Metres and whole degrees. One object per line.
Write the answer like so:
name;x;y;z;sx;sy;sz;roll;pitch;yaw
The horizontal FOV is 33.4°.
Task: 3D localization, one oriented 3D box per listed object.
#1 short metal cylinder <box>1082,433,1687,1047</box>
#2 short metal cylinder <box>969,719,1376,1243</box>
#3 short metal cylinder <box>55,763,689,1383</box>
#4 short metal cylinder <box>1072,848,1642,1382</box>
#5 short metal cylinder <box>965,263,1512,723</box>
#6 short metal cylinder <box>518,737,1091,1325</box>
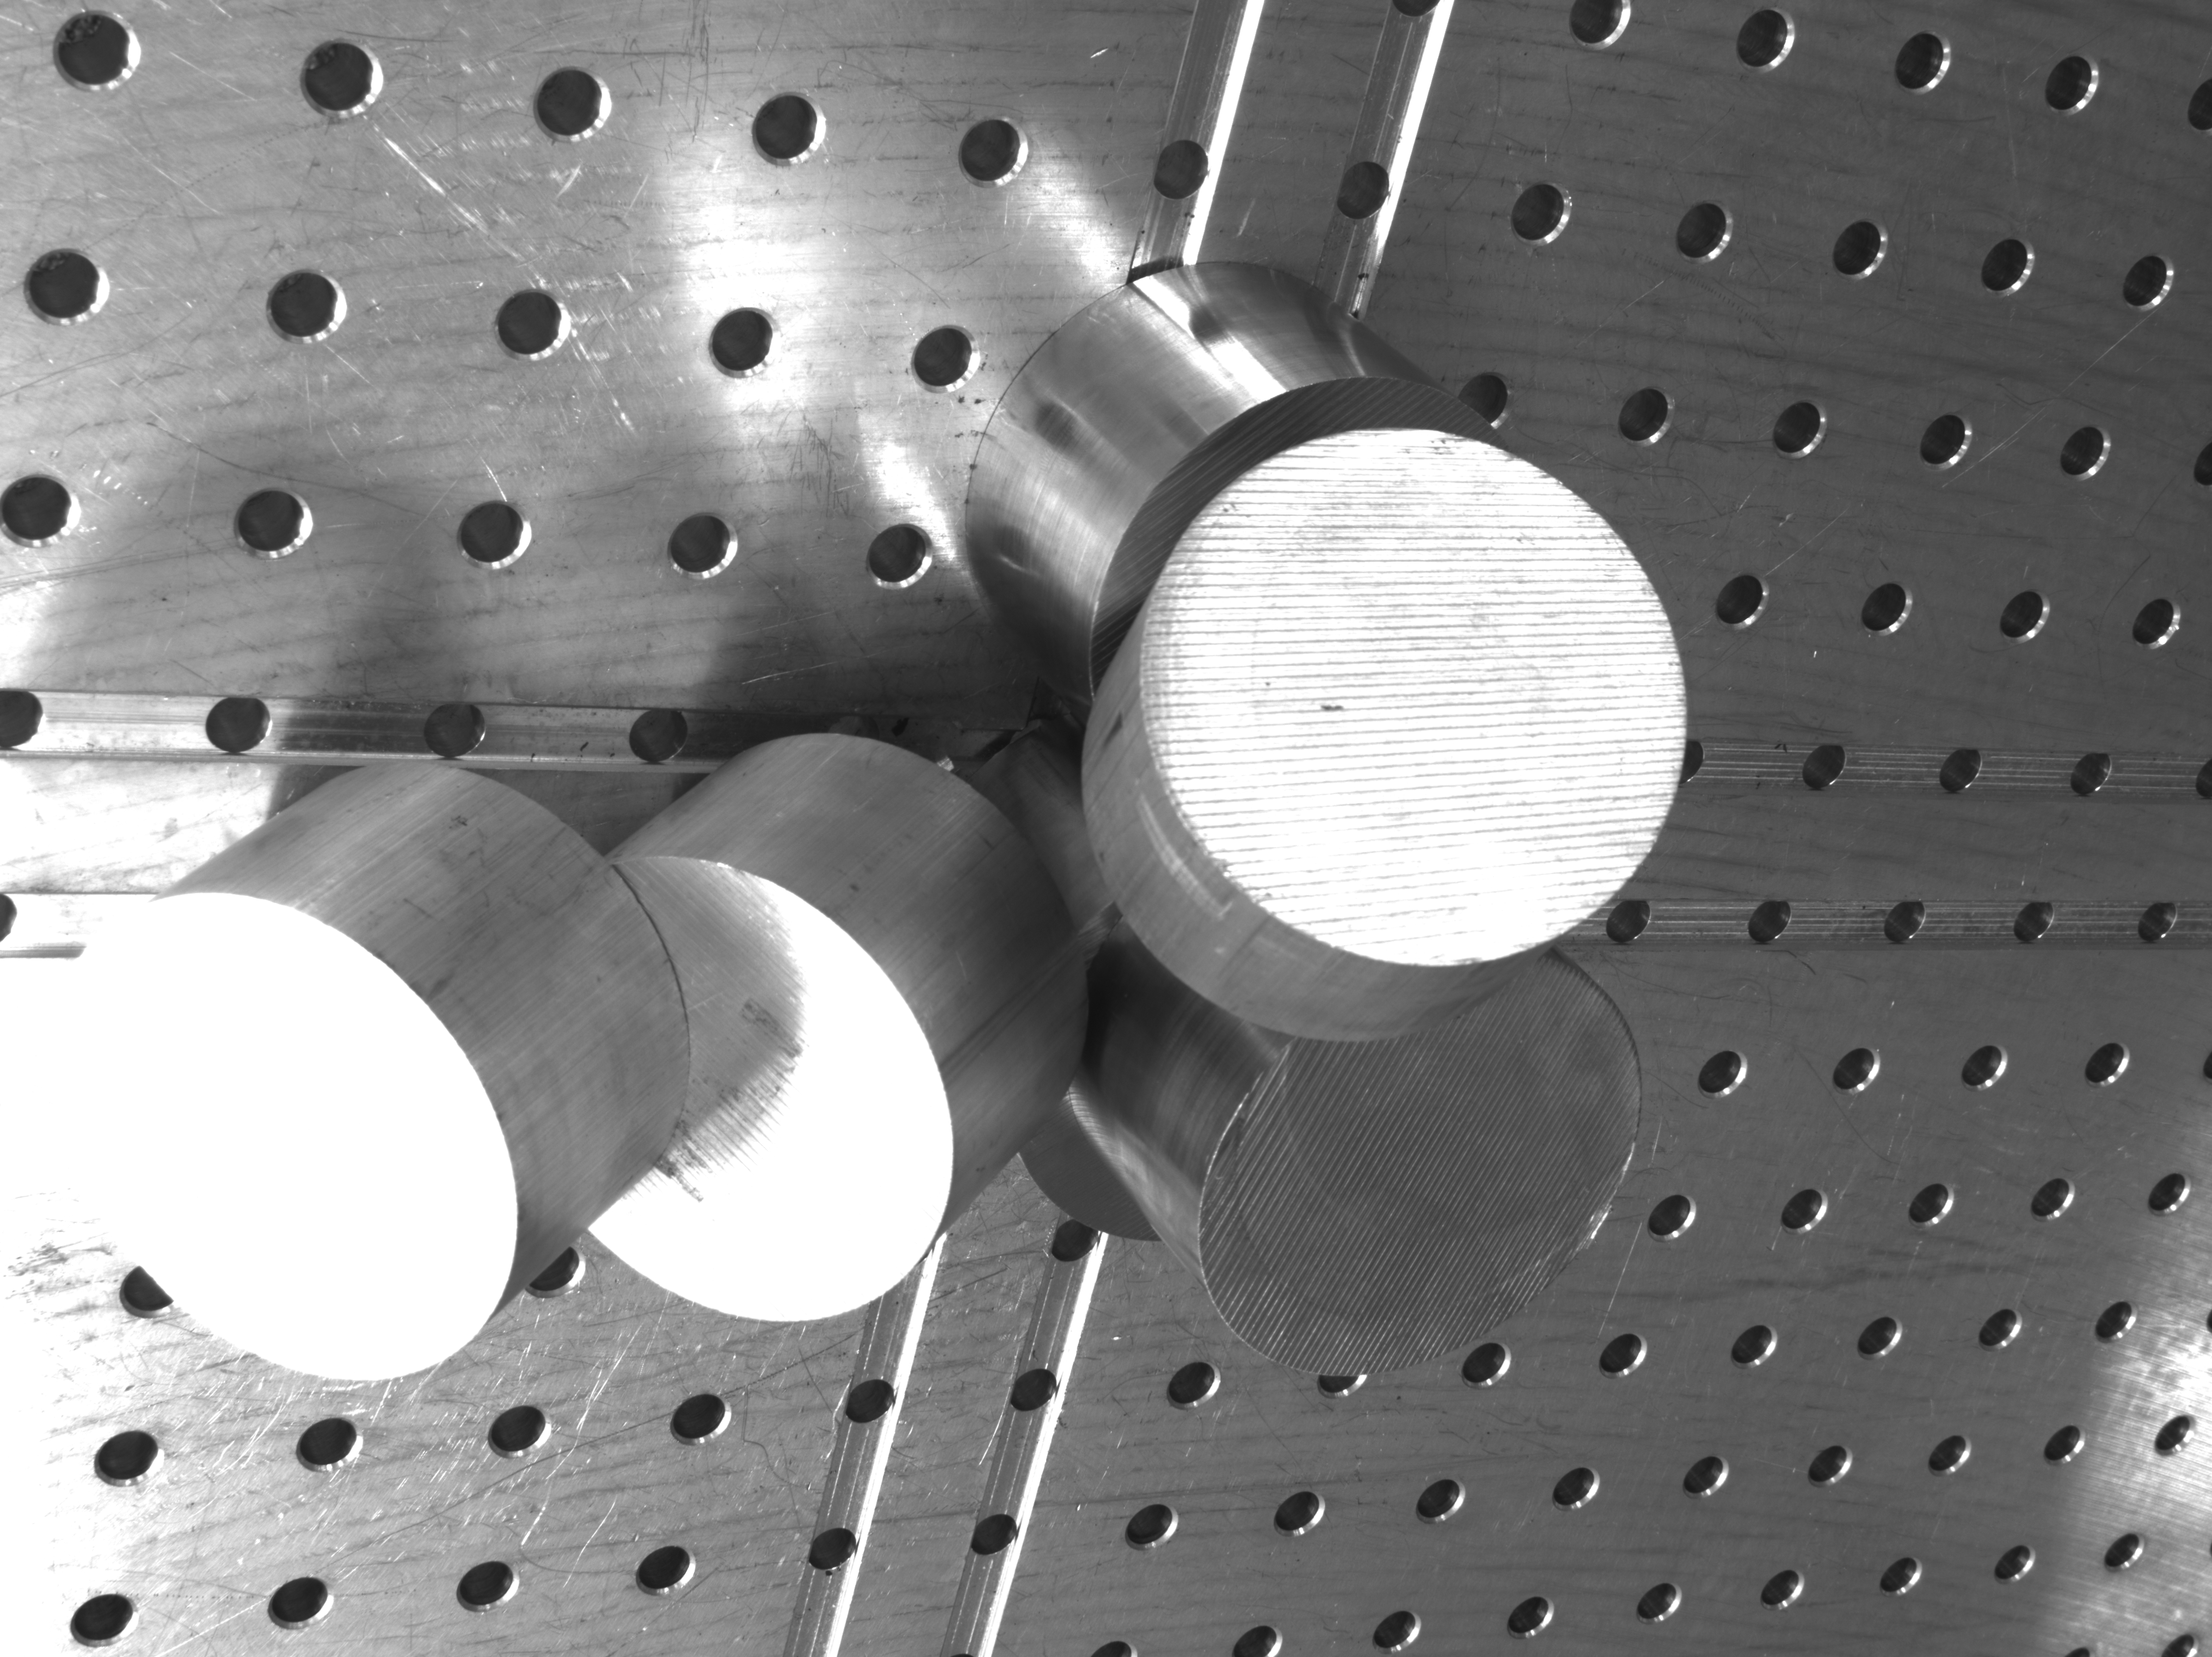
short metal cylinder;0.040;-0.012;0.546;0.080;0.080;0.050;-22;170;-15
short metal cylinder;0.010;0.025;0.644;0.080;0.050;0.080;-13;124;-21
short metal cylinder;-0.111;0.037;0.560;0.050;0.080;0.080;-46;148;-56
short metal cylinder;0.041;0.043;0.606;0.080;0.050;0.080;-13;124;-21
short metal cylinder;0.023;-0.047;0.608;0.080;0.050;0.080;-13;124;-21
short metal cylinder;-0.049;0.032;0.589;0.050;0.080;0.080;-44;147;-56
